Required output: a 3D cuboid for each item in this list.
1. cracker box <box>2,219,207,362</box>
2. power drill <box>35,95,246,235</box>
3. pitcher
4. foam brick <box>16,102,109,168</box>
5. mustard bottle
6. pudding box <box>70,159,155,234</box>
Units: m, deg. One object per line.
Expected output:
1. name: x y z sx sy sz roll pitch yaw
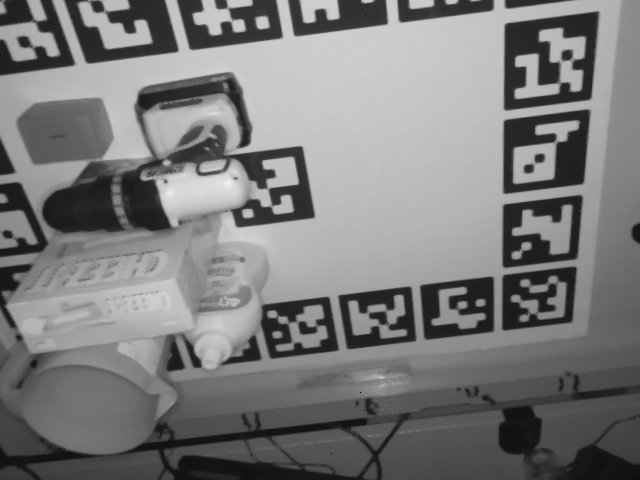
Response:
1. cracker box: -0.214 0.021 0.736 0.164 0.215 0.071 -9 123 1
2. power drill: -0.158 -0.072 0.665 0.184 0.188 0.057 -7 124 3
3. pitcher: -0.249 0.115 0.784 0.189 0.244 0.132 -1 121 -3
4. foam brick: -0.278 -0.115 0.754 0.078 0.052 0.052 -4 119 1
5. mustard bottle: -0.117 0.095 0.791 0.096 0.193 0.058 6 120 -4
6. pudding box: -0.213 -0.049 0.757 0.114 0.090 0.038 -6 122 -1
